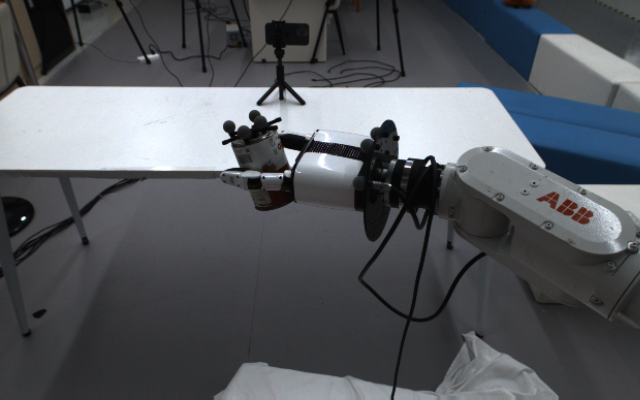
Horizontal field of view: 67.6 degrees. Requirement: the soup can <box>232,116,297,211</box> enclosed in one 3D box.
[{"bbox_3d":[-0.075,-0.044,0.679,0.067,0.101,0.067,-16,23,7],"label":"soup can"}]
